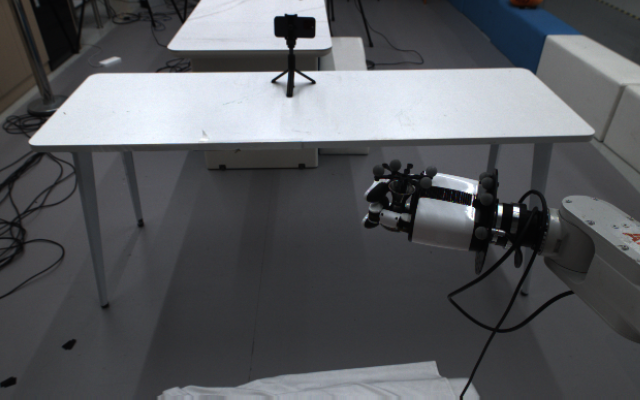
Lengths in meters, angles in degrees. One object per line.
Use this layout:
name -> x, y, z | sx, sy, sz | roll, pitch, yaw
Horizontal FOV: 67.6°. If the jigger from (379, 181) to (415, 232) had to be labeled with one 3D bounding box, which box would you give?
jigger -> 0.123, 0.007, 0.743 | 0.043, 0.071, 0.043 | 4, 31, -2
